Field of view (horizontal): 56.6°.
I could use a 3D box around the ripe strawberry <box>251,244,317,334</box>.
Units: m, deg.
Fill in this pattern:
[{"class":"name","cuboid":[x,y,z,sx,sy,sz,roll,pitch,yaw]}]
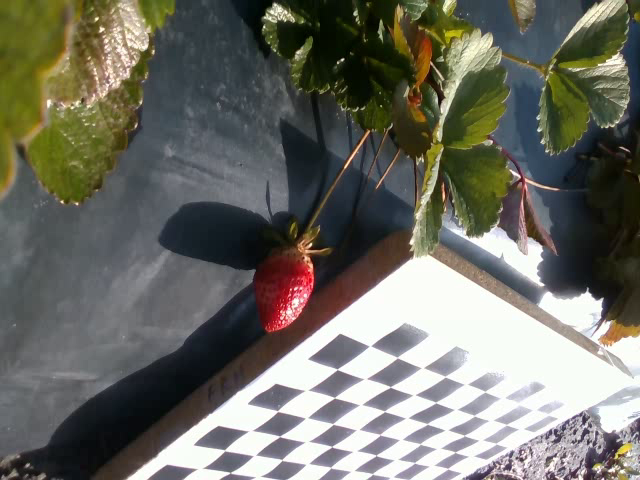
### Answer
[{"class":"ripe strawberry","cuboid":[-0.016,0.021,0.234,0.034,0.038,0.033,27,-20,-39]}]
